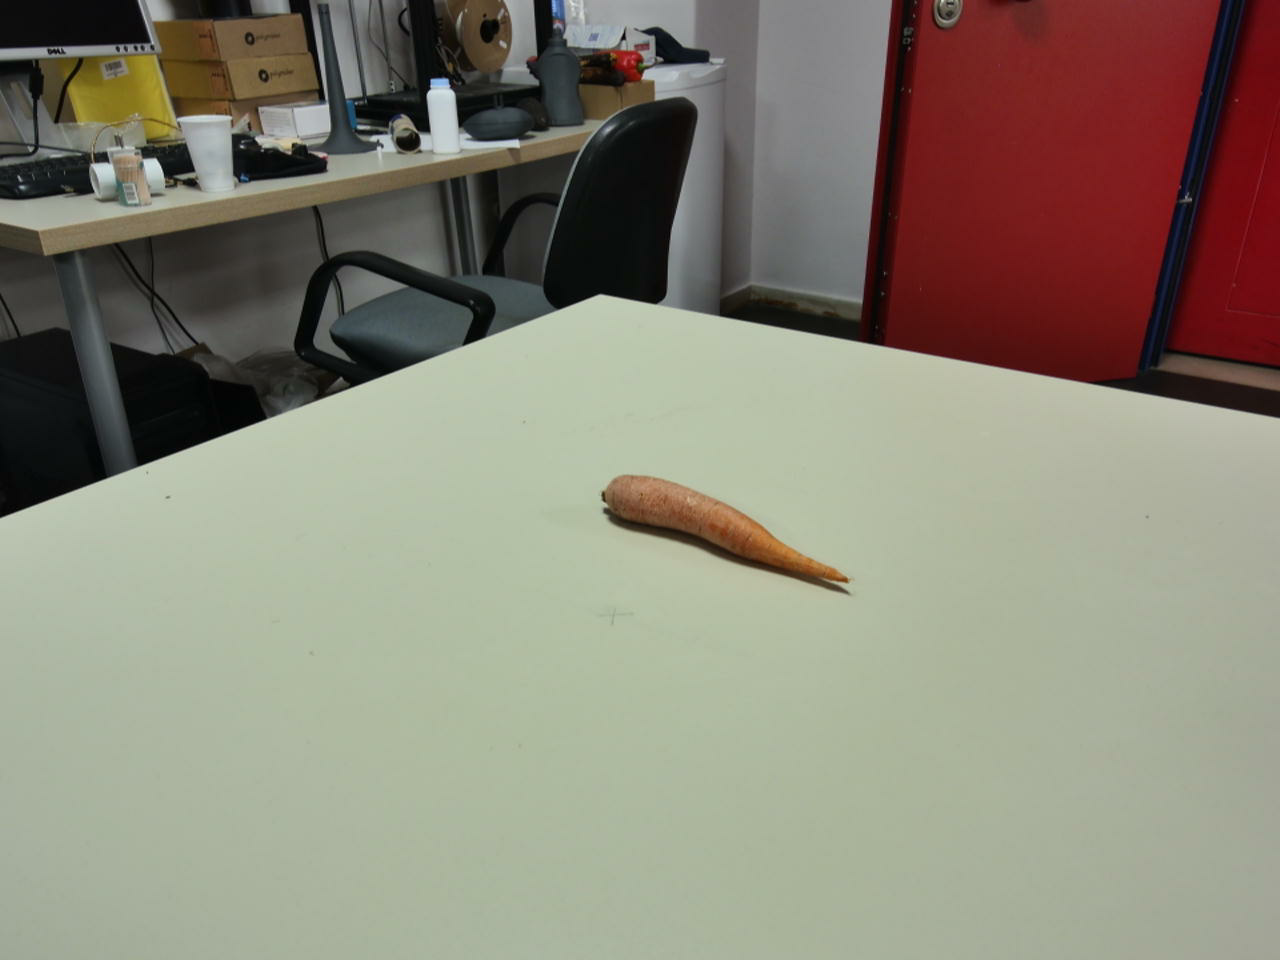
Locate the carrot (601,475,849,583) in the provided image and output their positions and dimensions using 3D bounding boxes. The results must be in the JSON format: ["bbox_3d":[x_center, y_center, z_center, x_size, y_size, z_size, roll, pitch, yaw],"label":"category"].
[{"bbox_3d":[0.044,0.024,0.557,0.163,0.029,0.031,17,30,33],"label":"carrot"}]
